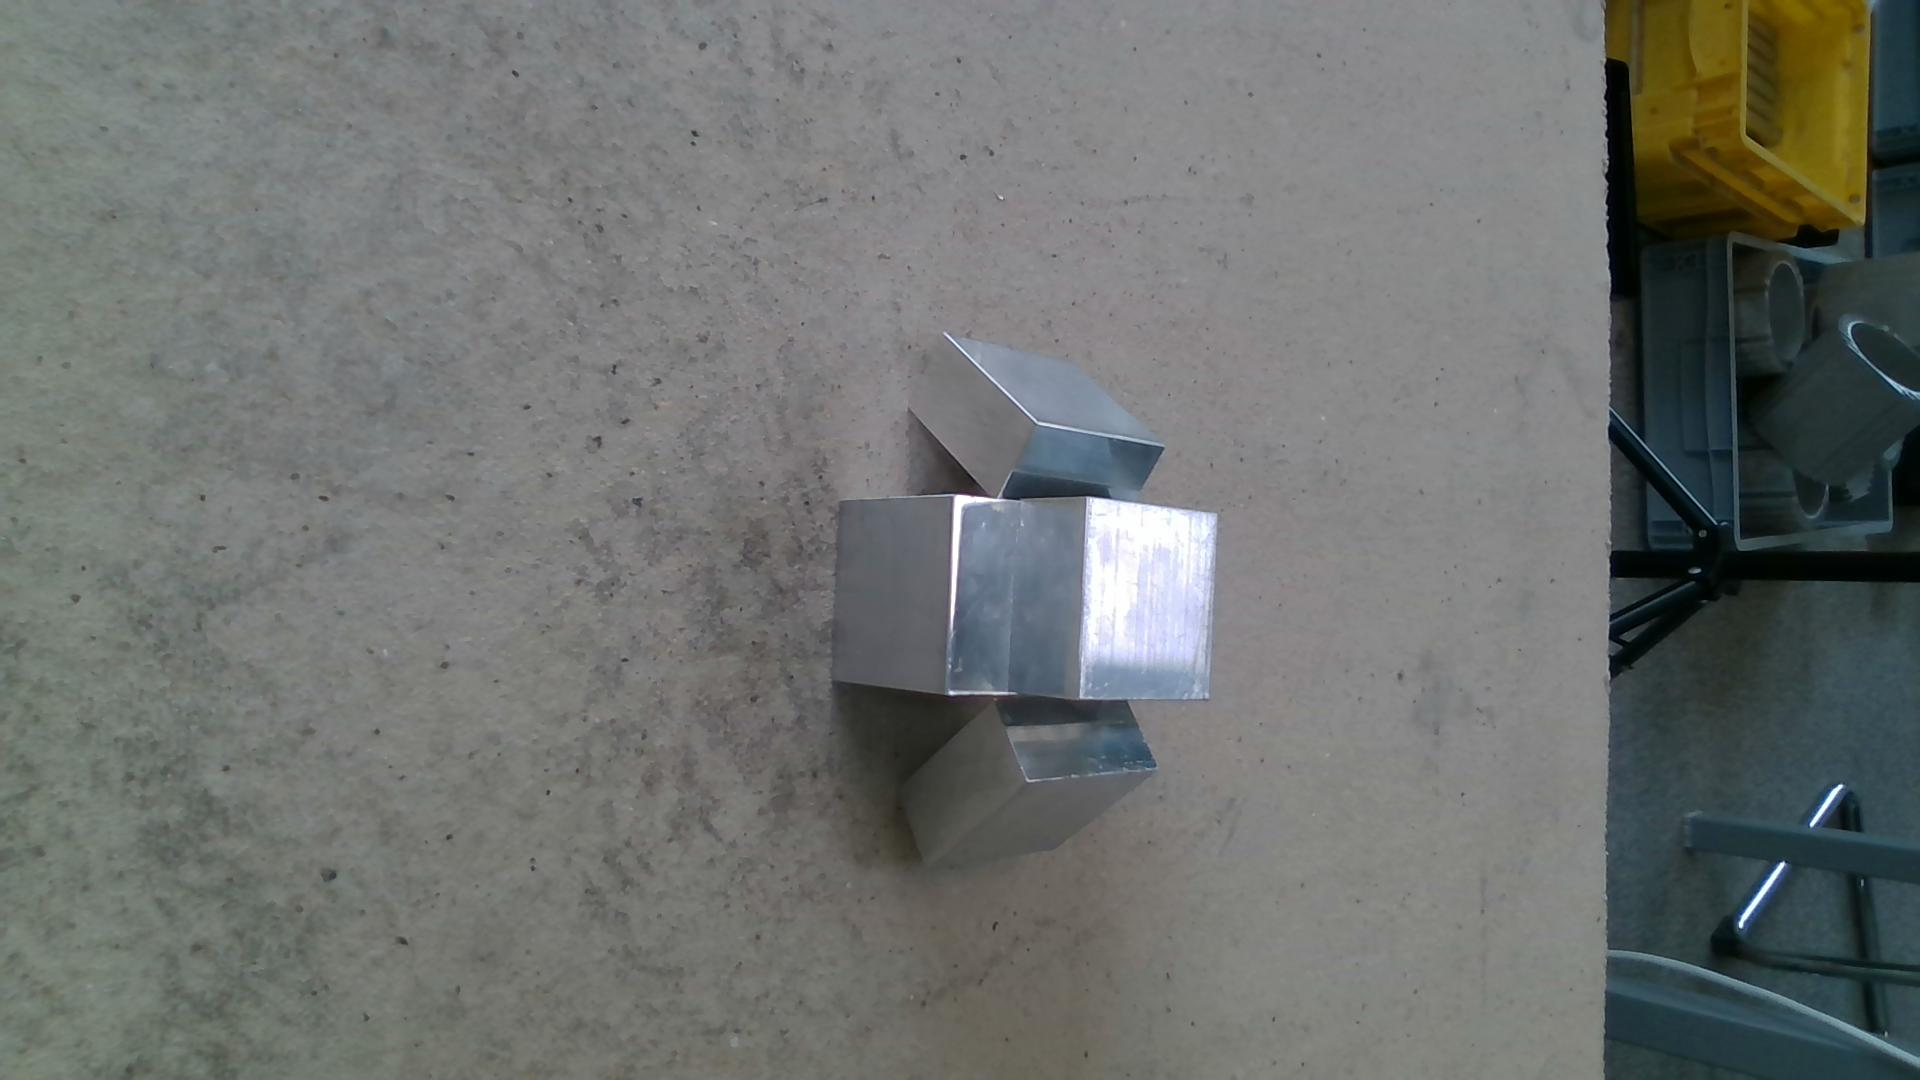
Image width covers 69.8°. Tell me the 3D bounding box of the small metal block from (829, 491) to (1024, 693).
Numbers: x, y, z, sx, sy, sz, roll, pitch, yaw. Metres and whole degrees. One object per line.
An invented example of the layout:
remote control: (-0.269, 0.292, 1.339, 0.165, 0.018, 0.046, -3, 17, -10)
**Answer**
small metal block: (-0.009, 0.014, 0.368, 0.025, 0.050, 0.050, 4, 88, -40)

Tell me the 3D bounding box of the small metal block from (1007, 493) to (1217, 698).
small metal block: (0.040, 0.015, 0.361, 0.050, 0.025, 0.050, 5, 87, -40)

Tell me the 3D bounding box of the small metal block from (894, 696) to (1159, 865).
small metal block: (0.018, 0.066, 0.388, 0.050, 0.050, 0.025, 3, 53, -40)

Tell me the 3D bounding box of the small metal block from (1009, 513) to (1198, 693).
small metal block: (0.042, 0.019, 0.411, 0.025, 0.050, 0.050, 6, 86, -40)

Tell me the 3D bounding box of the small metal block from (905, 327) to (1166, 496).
small metal block: (0.021, -0.033, 0.390, 0.050, 0.050, 0.025, 6, 122, -40)
